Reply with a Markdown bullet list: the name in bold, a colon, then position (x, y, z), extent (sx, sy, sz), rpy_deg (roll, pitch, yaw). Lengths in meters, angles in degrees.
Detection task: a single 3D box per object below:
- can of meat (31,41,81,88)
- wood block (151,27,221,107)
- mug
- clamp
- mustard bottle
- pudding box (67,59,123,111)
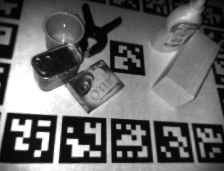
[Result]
- **can of meat**: position (-0.127, -0.043, 0.485), extent (0.102, 0.083, 0.057), rpy_deg (-26, 79, -24)
- **wood block**: position (0.208, -0.054, 0.601), extent (0.090, 0.091, 0.207), rpy_deg (38, 61, 3)
- **mug**: position (-0.125, -0.132, 0.552), extent (0.093, 0.081, 0.117), rpy_deg (26, 65, -6)
- **clamp**: position (-0.047, -0.160, 0.593), extent (0.122, 0.036, 0.165), rpy_deg (24, 66, -9)
- **mustard bottle**: position (0.181, -0.174, 0.578), extent (0.097, 0.191, 0.058), rpy_deg (0, 69, -16)
- **pudding box**: position (-0.039, -0.005, 0.528), extent (0.114, 0.038, 0.090), rpy_deg (-36, 83, -28)
